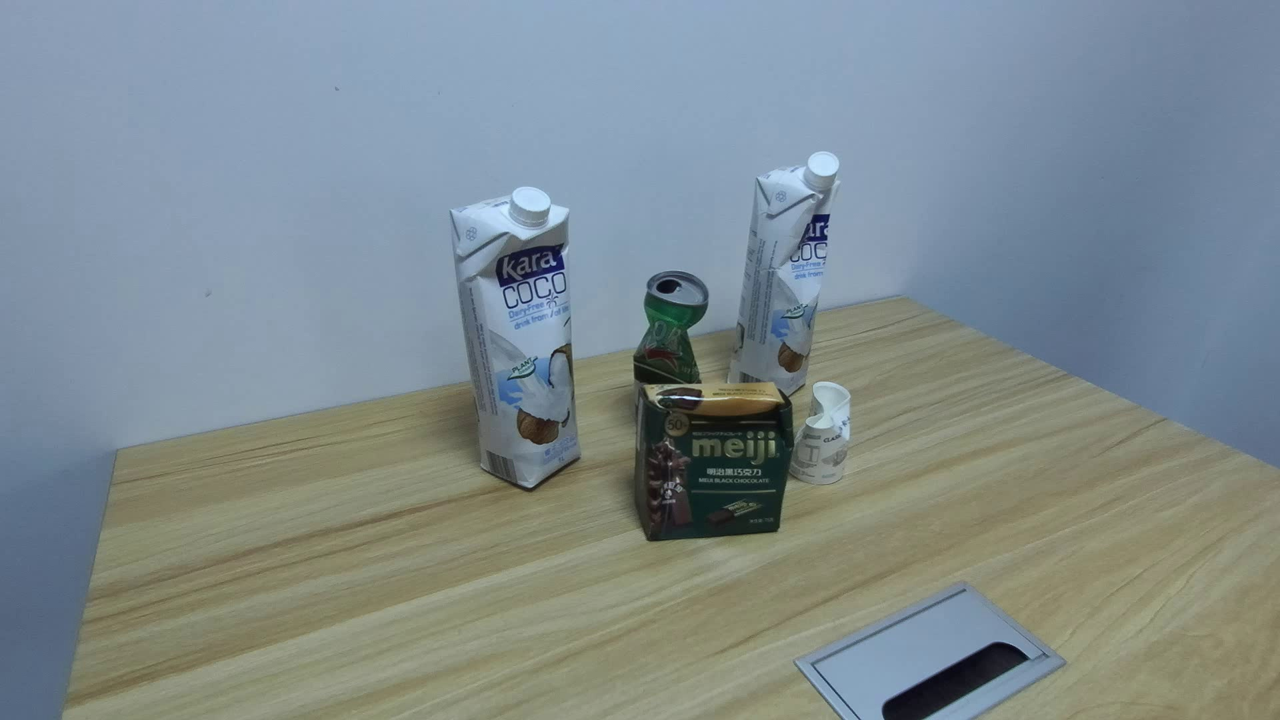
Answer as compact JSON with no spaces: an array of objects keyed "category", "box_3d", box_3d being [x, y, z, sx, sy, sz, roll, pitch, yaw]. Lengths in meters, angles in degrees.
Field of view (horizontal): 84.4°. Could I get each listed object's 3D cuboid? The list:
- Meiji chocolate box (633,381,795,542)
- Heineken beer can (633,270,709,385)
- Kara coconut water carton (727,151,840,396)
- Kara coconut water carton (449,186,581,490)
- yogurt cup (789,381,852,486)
[{"category":"Meiji chocolate box","box_3d":[0.056,0.079,0.562,0.113,0.110,0.058,-1,18,-8]},{"category":"Heineken beer can","box_3d":[0.028,-0.002,0.660,0.067,0.159,0.078,-15,37,-25]},{"category":"Kara coconut water carton","box_3d":[0.144,-0.082,0.715,0.083,0.255,0.078,-18,34,-35]},{"category":"Kara coconut water carton","box_3d":[-0.097,-0.019,0.584,0.071,0.244,0.100,16,32,32]},{"category":"yogurt cup","box_3d":[0.158,0.066,0.625,0.054,0.071,0.075,-2,28,-6]}]
